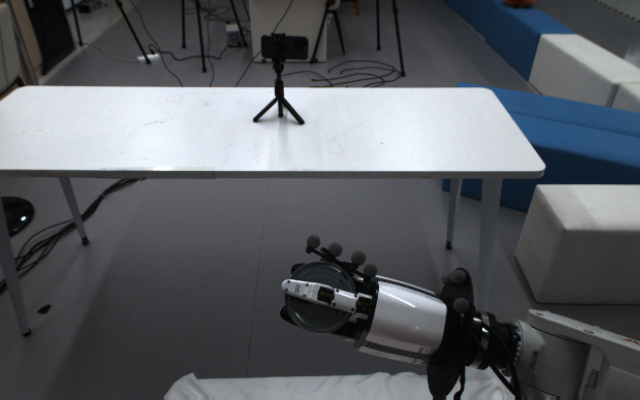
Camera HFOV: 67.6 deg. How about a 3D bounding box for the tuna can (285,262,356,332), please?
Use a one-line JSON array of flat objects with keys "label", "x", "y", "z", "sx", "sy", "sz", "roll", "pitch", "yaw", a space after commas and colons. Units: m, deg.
[{"label": "tuna can", "x": 0.003, "y": 0.119, "z": 0.592, "sx": 0.085, "sy": 0.034, "sz": 0.085, "roll": 0, "pitch": 72, "yaw": 0}]
